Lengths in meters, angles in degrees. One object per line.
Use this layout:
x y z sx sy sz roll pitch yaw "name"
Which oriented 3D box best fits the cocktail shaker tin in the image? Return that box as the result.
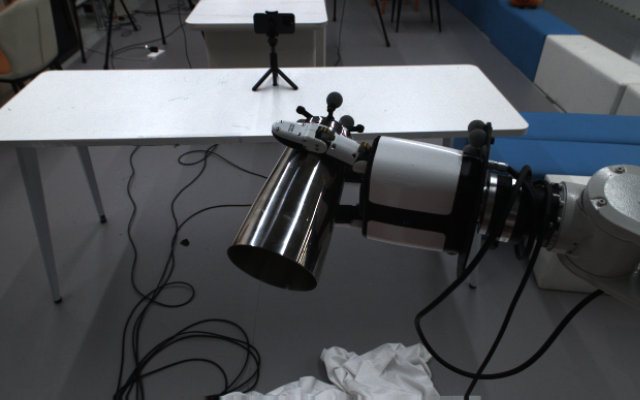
-0.019 -0.006 0.502 0.093 0.093 0.170 13 59 16 "cocktail shaker tin"
